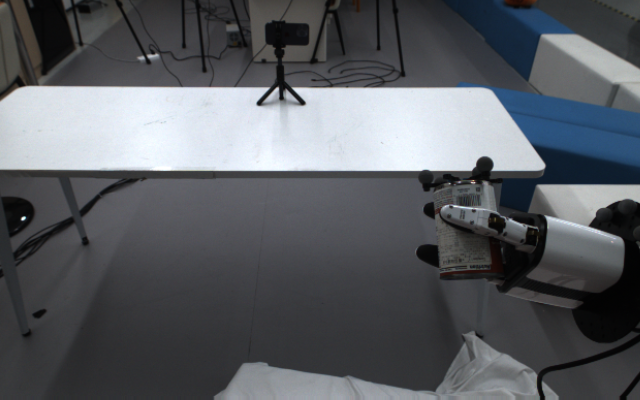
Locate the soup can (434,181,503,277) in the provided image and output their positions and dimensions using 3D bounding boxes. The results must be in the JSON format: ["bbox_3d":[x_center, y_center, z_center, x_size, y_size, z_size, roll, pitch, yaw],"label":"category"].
[{"bbox_3d":[0.163,0.032,0.536,0.067,0.067,0.101,-1,77,-4],"label":"soup can"}]
